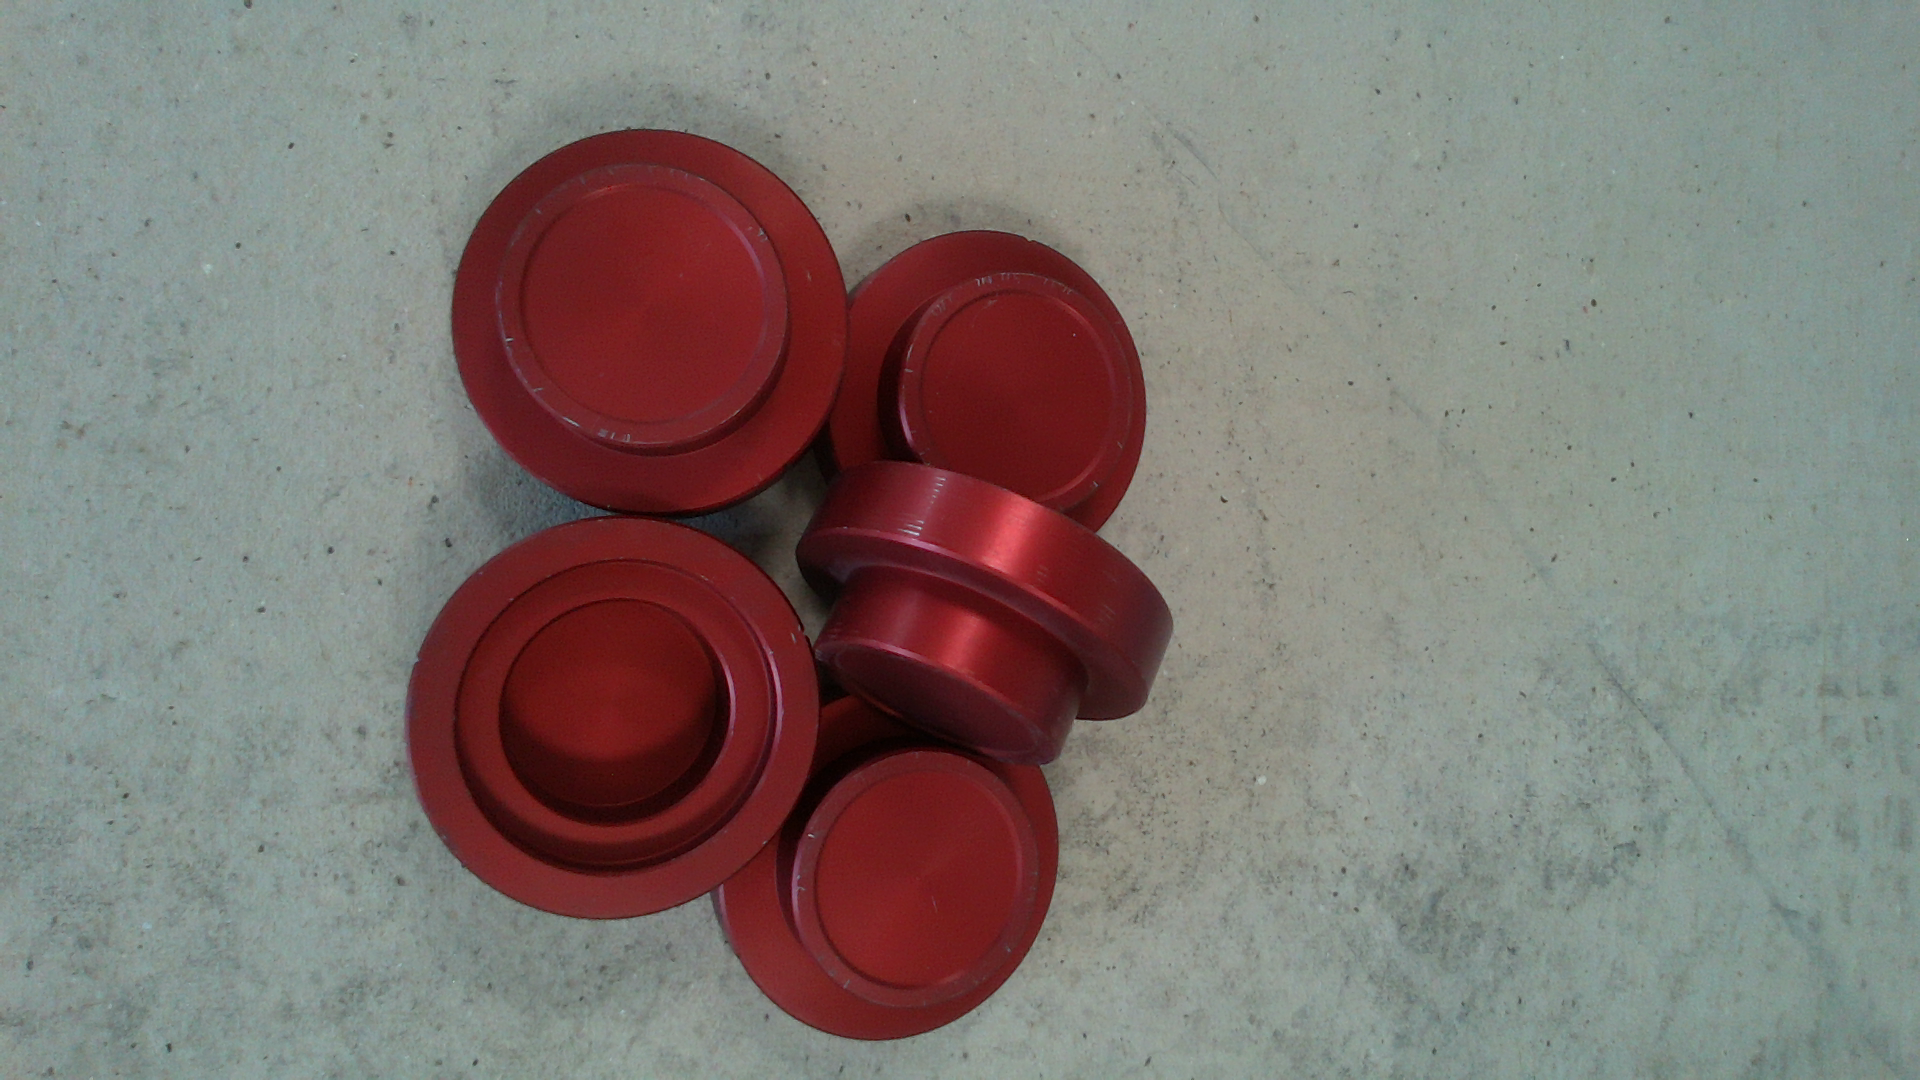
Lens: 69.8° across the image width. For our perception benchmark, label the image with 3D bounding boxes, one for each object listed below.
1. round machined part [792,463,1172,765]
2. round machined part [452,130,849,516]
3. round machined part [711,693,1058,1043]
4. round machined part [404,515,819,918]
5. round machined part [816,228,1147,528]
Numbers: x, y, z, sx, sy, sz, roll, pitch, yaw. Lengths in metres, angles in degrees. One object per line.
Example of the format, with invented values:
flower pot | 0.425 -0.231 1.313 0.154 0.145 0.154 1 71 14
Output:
round machined part | 0.001 0.025 0.353 0.098 0.098 0.042 31 67 -17
round machined part | -0.077 -0.055 0.345 0.098 0.042 0.098 0 88 -7
round machined part | -0.017 0.089 0.378 0.098 0.042 0.098 1 88 -21
round machined part | -0.089 0.042 0.352 0.098 0.042 0.098 -1 92 -20
round machined part | 0.009 -0.039 0.388 0.098 0.042 0.098 0 89 -21
